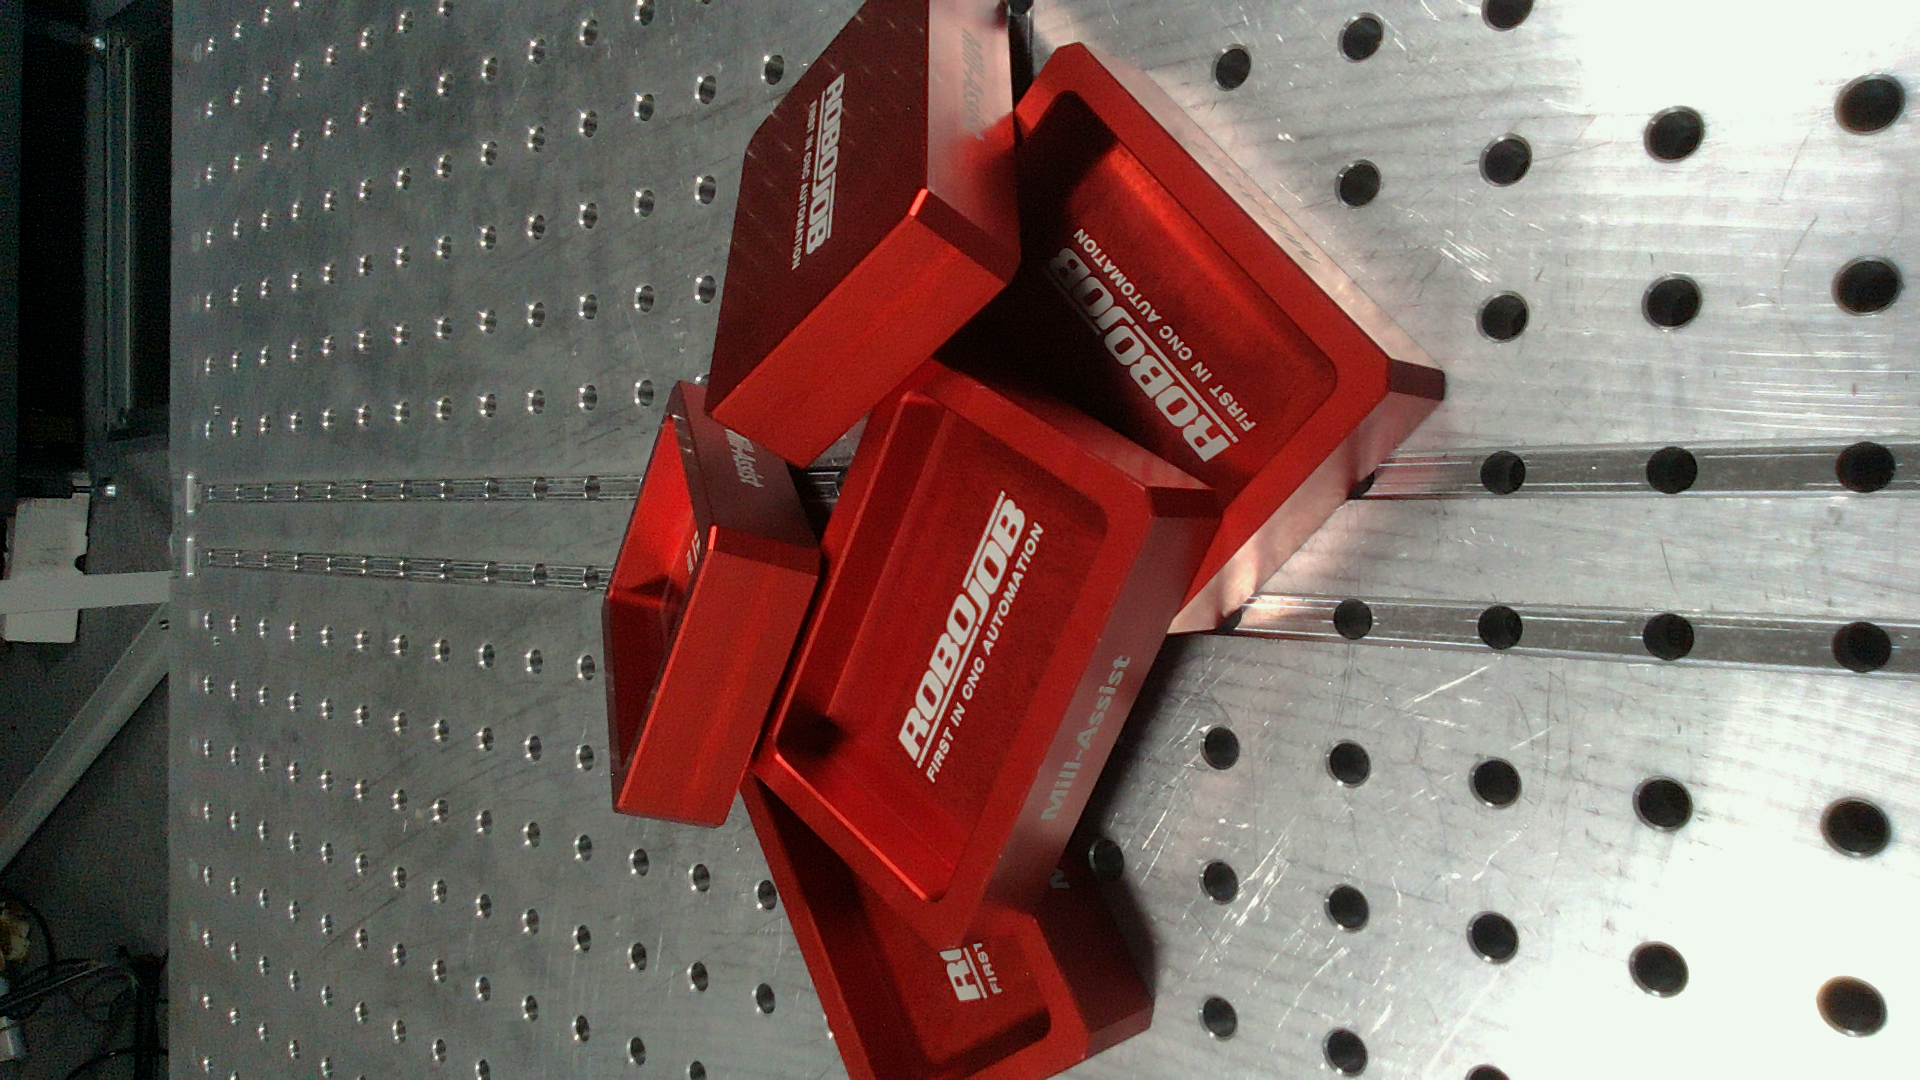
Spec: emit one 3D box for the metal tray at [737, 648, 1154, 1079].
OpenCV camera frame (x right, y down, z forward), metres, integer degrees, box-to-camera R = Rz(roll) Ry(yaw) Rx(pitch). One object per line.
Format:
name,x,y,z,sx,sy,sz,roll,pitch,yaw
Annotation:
metal tray,-0.011,0.098,0.403,0.090,0.030,0.130,-40,66,33

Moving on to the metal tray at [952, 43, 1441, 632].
metal tray,0.046,-0.052,0.355,0.090,0.030,0.130,-51,60,28

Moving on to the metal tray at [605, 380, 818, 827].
metal tray,-0.082,0.014,0.423,0.090,0.030,0.130,-68,23,18

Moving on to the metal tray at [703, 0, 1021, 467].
metal tray,-0.027,-0.094,0.377,0.090,0.030,0.130,-38,37,34

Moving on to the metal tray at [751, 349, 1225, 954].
metal tray,0.001,0.026,0.354,0.090,0.030,0.130,35,112,34
